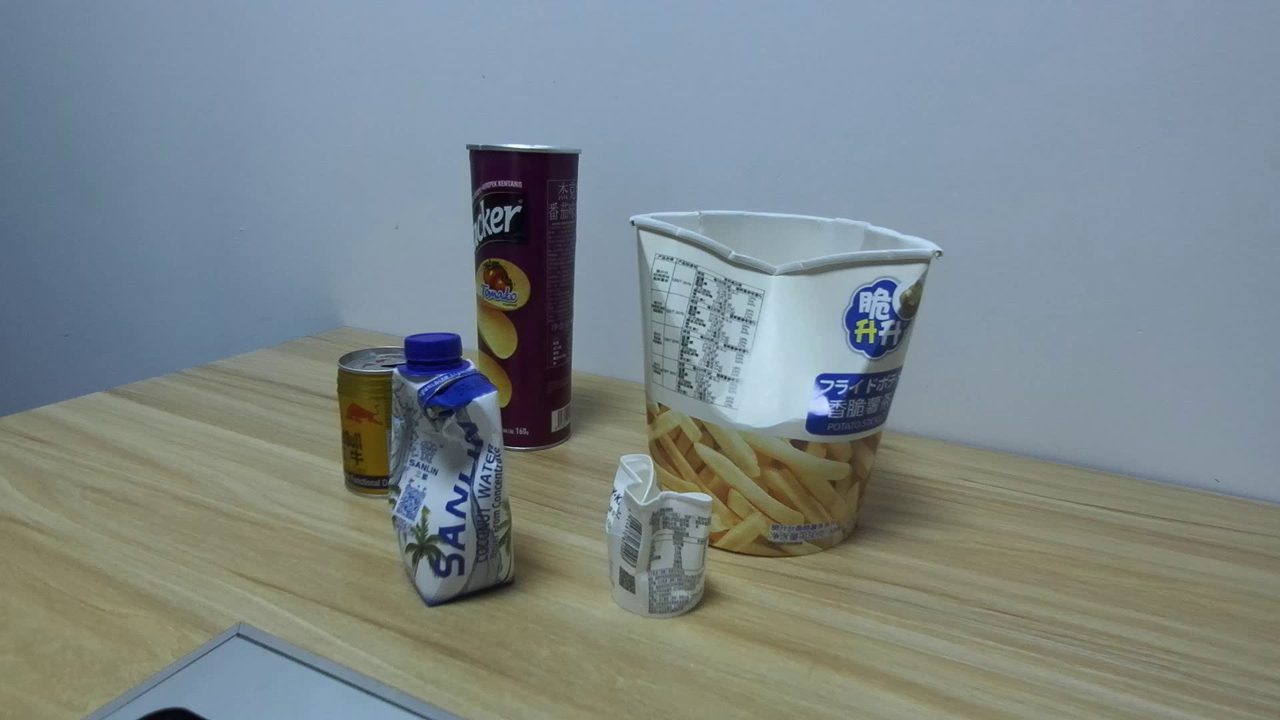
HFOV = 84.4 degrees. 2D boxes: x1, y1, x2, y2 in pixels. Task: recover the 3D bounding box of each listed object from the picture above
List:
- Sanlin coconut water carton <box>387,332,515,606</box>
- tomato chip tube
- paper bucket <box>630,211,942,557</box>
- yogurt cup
[{"bbox_3d":[-0.104,0.061,0.377,0.057,0.145,0.068,-15,31,-28],"label":"Sanlin coconut water carton"},{"bbox_3d":[-0.092,-0.049,0.570,0.077,0.234,0.080,-7,19,-28],"label":"tomato chip tube"},{"bbox_3d":[0.074,0.007,0.473,0.163,0.202,0.169,-1,15,-6],"label":"paper bucket"},{"bbox_3d":[0.009,0.096,0.388,0.055,0.072,0.055,-2,20,-5],"label":"yogurt cup"}]
